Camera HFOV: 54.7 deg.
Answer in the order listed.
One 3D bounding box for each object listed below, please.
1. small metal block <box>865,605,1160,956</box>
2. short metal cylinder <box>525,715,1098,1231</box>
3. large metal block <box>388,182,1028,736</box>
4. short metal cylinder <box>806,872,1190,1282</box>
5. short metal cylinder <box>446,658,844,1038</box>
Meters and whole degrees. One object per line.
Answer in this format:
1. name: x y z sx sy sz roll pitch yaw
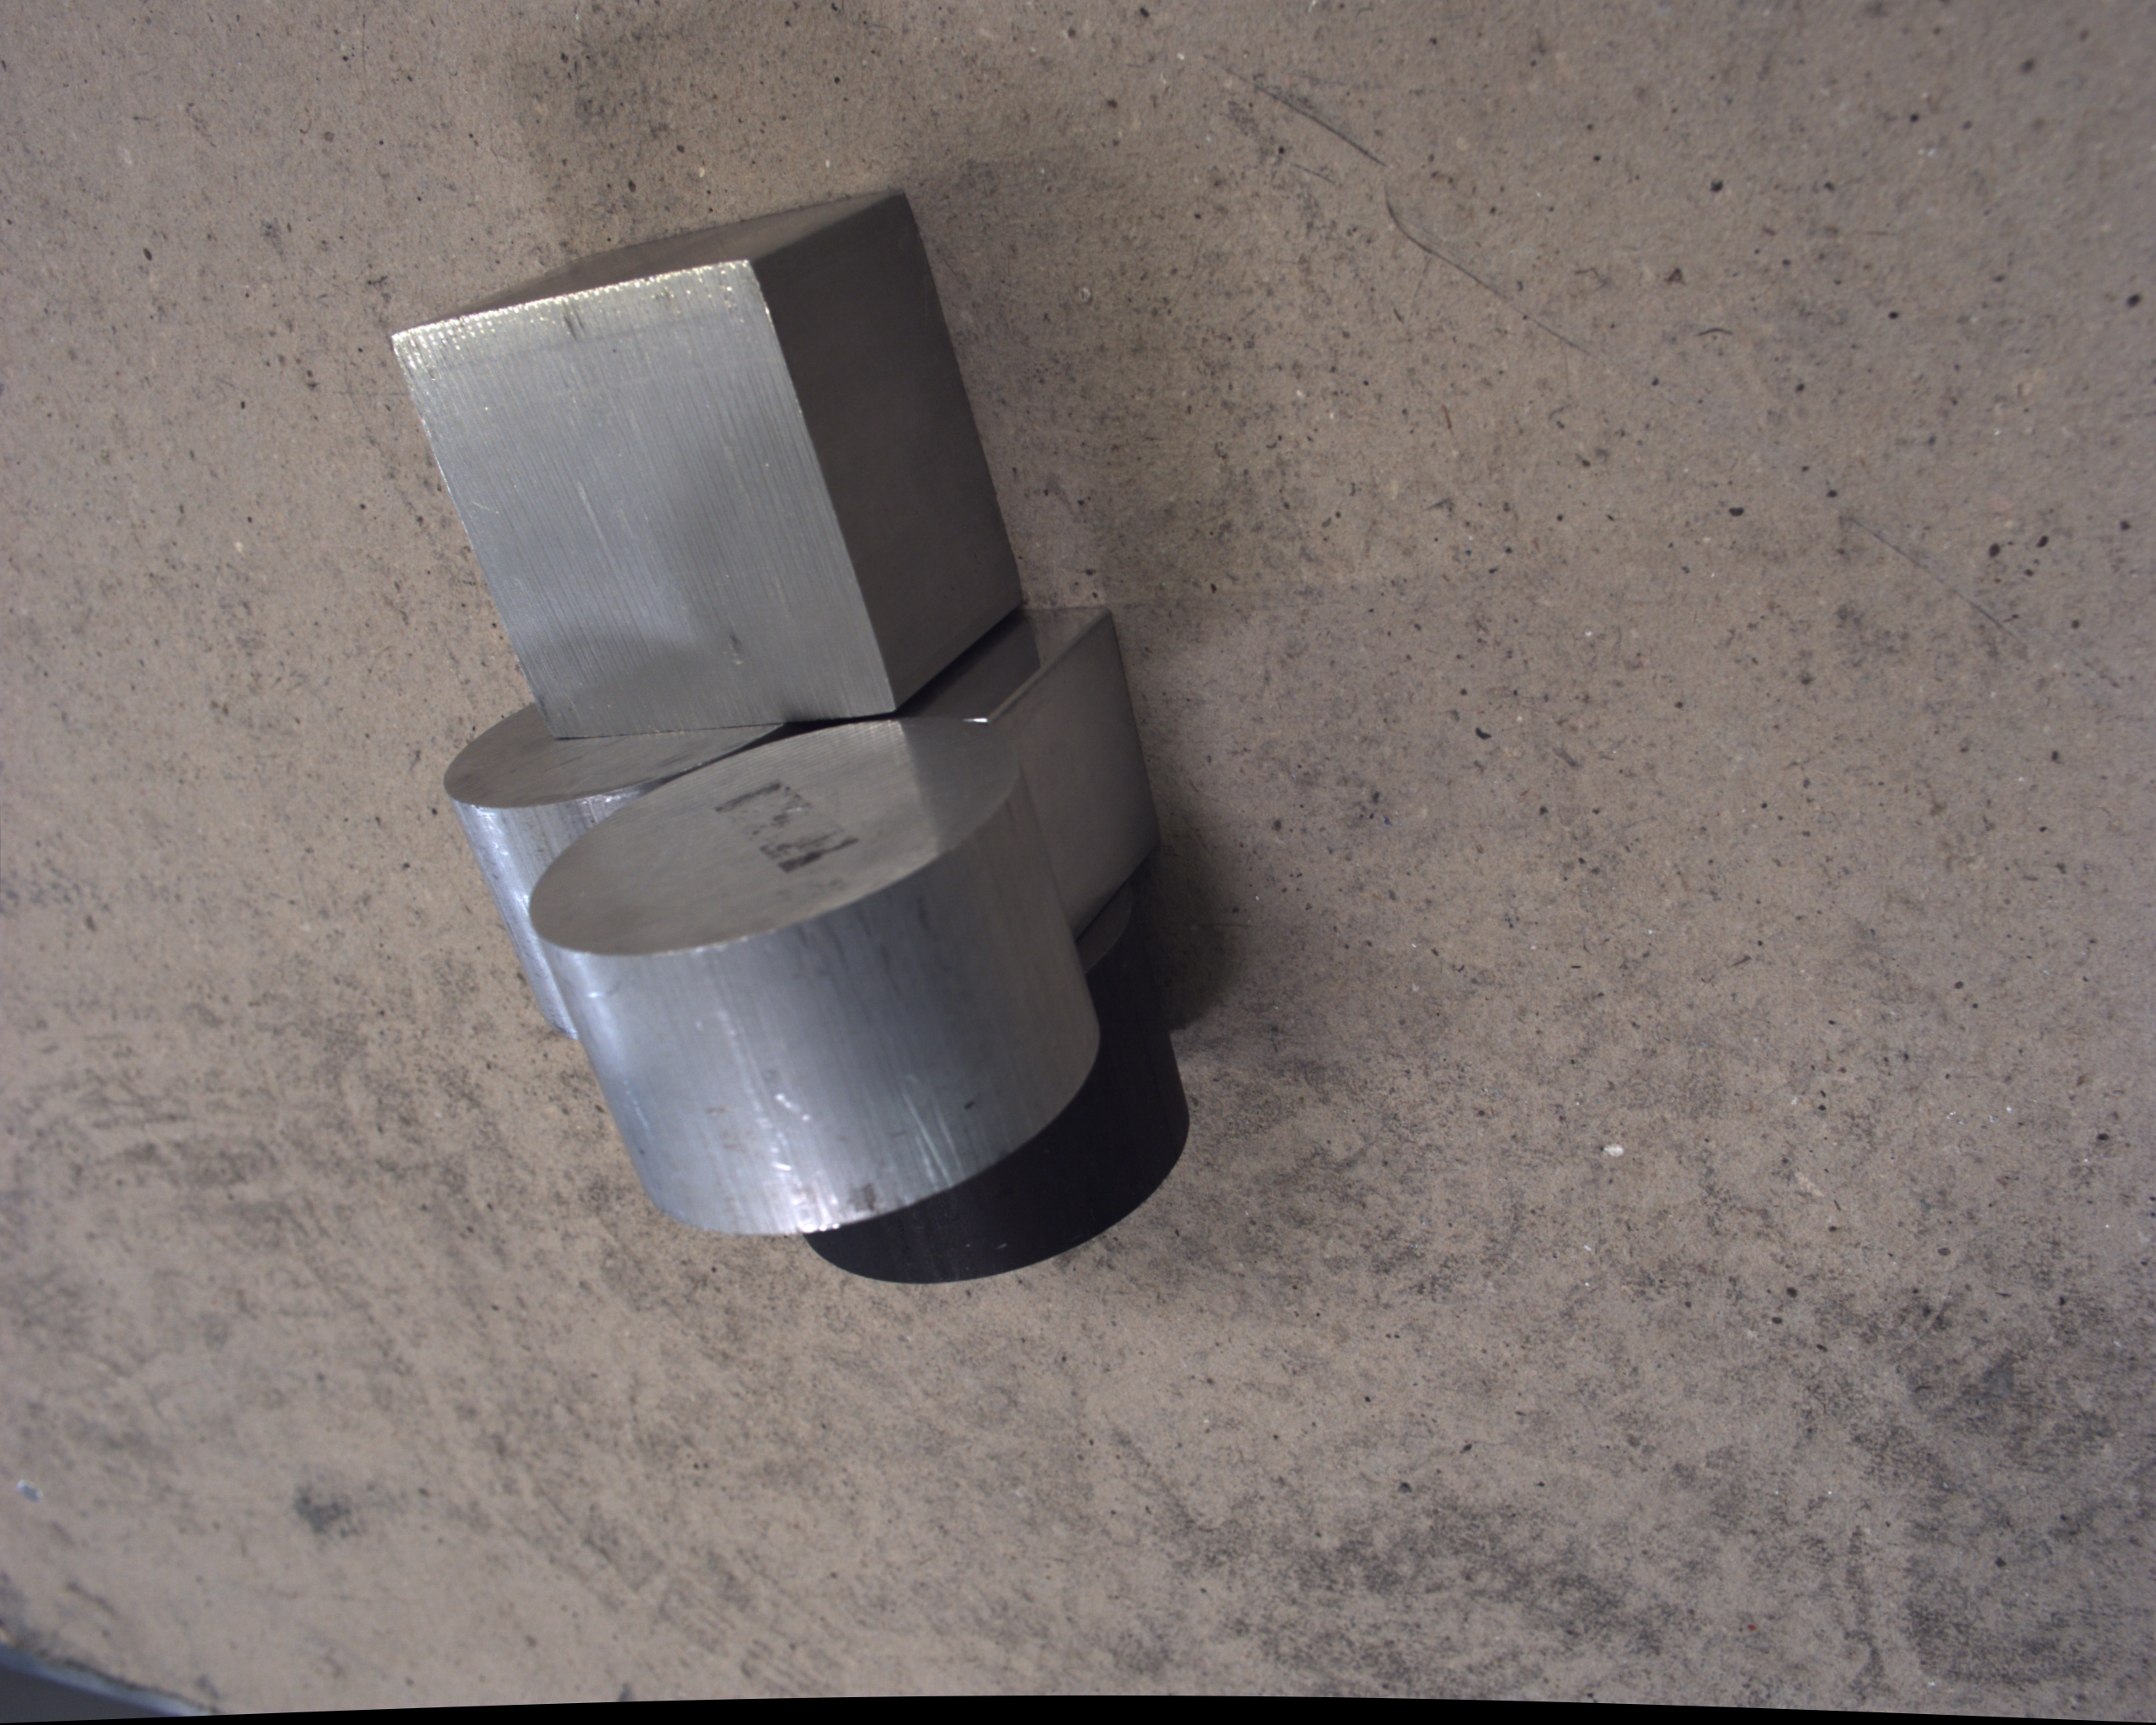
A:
1. small metal block: -0.011 -0.015 0.391 0.025 0.050 0.050 1 119 28
2. short metal cylinder: -0.042 0.015 0.340 0.080 0.080 0.050 -2 117 29
3. large metal block: -0.065 -0.072 0.383 0.080 0.050 0.080 -2 118 29
4. short metal cylinder: -0.023 0.037 0.408 0.080 0.080 0.050 0 118 28
5. short metal cylinder: -0.075 -0.007 0.409 0.080 0.080 0.050 -2 117 29
